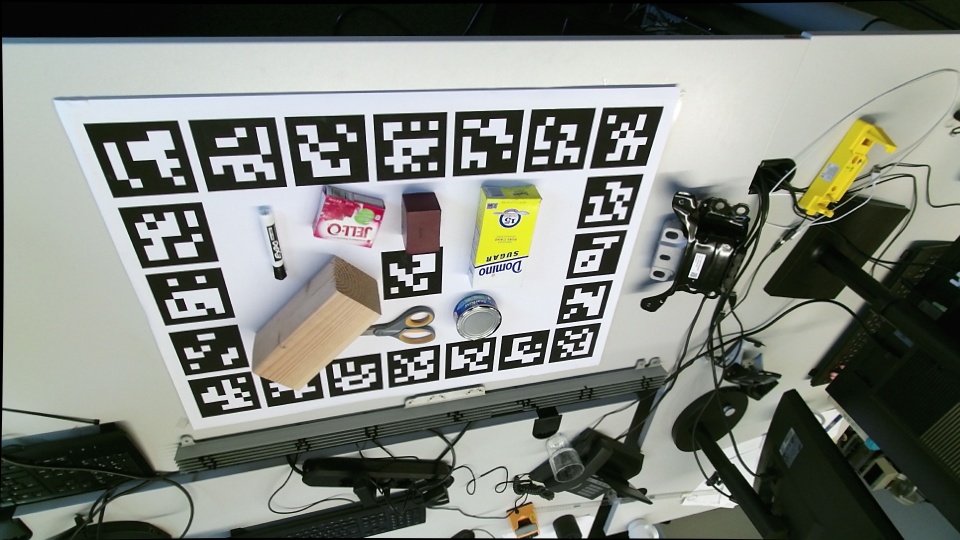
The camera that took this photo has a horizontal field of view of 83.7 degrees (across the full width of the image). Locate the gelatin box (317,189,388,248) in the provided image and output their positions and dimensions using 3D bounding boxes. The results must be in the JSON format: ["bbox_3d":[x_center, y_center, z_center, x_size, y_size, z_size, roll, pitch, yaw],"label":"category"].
[{"bbox_3d":[-0.194,-0.076,0.814,0.090,0.030,0.073,11,119,-26],"label":"gelatin box"}]

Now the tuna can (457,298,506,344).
[{"bbox_3d":[0.002,0.094,0.998,0.086,0.033,0.086,-9,126,-13],"label":"tuna can"}]

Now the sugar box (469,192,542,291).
[{"bbox_3d":[0.040,-0.046,0.908,0.093,0.045,0.176,-1,125,-17],"label":"sugar box"}]

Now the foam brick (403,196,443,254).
[{"bbox_3d":[-0.090,-0.071,0.835,0.053,0.051,0.078,-4,125,-17],"label":"foam brick"}]

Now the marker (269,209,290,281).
[{"bbox_3d":[-0.303,-0.035,0.811,0.020,0.019,0.121,-5,123,-16],"label":"marker"}]

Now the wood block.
[{"bbox_3d":[-0.268,0.089,0.873,0.206,0.090,0.090,-42,127,14],"label":"wood block"}]

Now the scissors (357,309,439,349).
[{"bbox_3d":[-0.169,0.111,0.966,0.204,0.016,0.088,0,124,-21],"label":"scissors"}]
